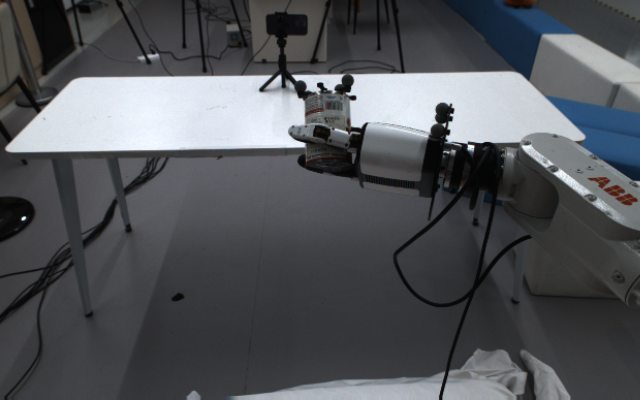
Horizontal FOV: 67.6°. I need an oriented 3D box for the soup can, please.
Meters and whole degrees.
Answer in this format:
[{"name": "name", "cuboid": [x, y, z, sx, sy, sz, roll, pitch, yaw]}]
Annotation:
[{"name": "soup can", "cuboid": [0.012, -0.096, 0.686, 0.067, 0.101, 0.067, -1, -9, 0]}]
